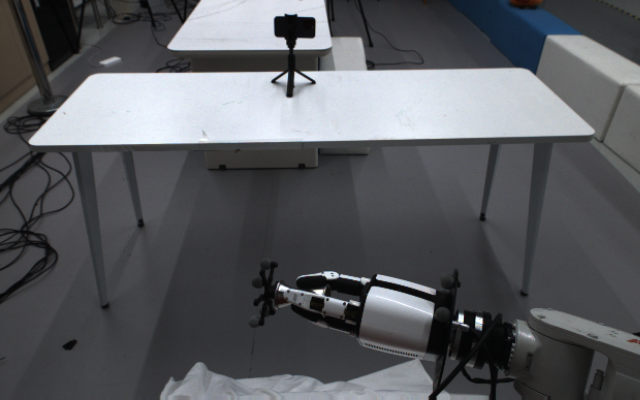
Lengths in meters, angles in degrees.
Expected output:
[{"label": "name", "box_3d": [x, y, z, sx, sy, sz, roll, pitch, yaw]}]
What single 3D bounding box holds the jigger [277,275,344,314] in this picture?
[{"label": "jigger", "box_3d": [-0.016, 0.129, 0.654, 0.071, 0.043, 0.043, 4, 34, 14]}]
